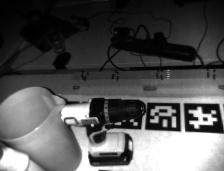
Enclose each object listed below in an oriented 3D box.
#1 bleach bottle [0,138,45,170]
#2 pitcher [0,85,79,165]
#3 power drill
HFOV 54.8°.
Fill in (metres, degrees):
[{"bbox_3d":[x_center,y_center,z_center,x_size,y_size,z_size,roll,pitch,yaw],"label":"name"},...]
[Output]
[{"bbox_3d":[-0.211,0.173,0.456,0.102,0.253,0.067,-8,49,10],"label":"bleach bottle"},{"bbox_3d":[-0.181,0.108,0.532,0.189,0.245,0.132,-22,49,-3],"label":"pitcher"},{"bbox_3d":[-0.014,0.097,0.512,0.184,0.188,0.057,-2,52,6],"label":"power drill"}]
